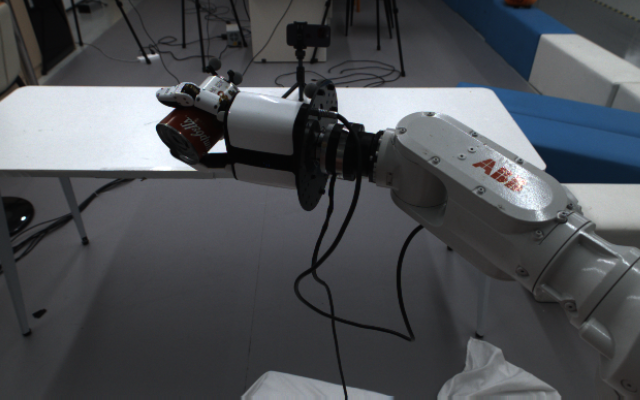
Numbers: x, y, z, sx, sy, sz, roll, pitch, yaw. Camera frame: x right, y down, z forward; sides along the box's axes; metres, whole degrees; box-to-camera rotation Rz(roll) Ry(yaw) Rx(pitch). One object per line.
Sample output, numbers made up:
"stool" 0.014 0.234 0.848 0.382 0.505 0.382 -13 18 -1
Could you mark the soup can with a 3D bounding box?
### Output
"soup can" -0.150 -0.105 0.622 0.067 0.067 0.101 23 61 27
